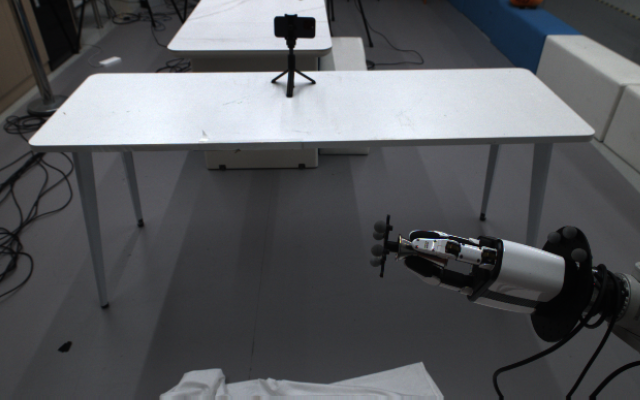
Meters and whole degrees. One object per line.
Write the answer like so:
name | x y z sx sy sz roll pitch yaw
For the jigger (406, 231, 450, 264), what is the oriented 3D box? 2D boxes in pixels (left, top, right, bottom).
jigger | 0.149 0.065 0.679 0.071 0.043 0.043 6 35 4
